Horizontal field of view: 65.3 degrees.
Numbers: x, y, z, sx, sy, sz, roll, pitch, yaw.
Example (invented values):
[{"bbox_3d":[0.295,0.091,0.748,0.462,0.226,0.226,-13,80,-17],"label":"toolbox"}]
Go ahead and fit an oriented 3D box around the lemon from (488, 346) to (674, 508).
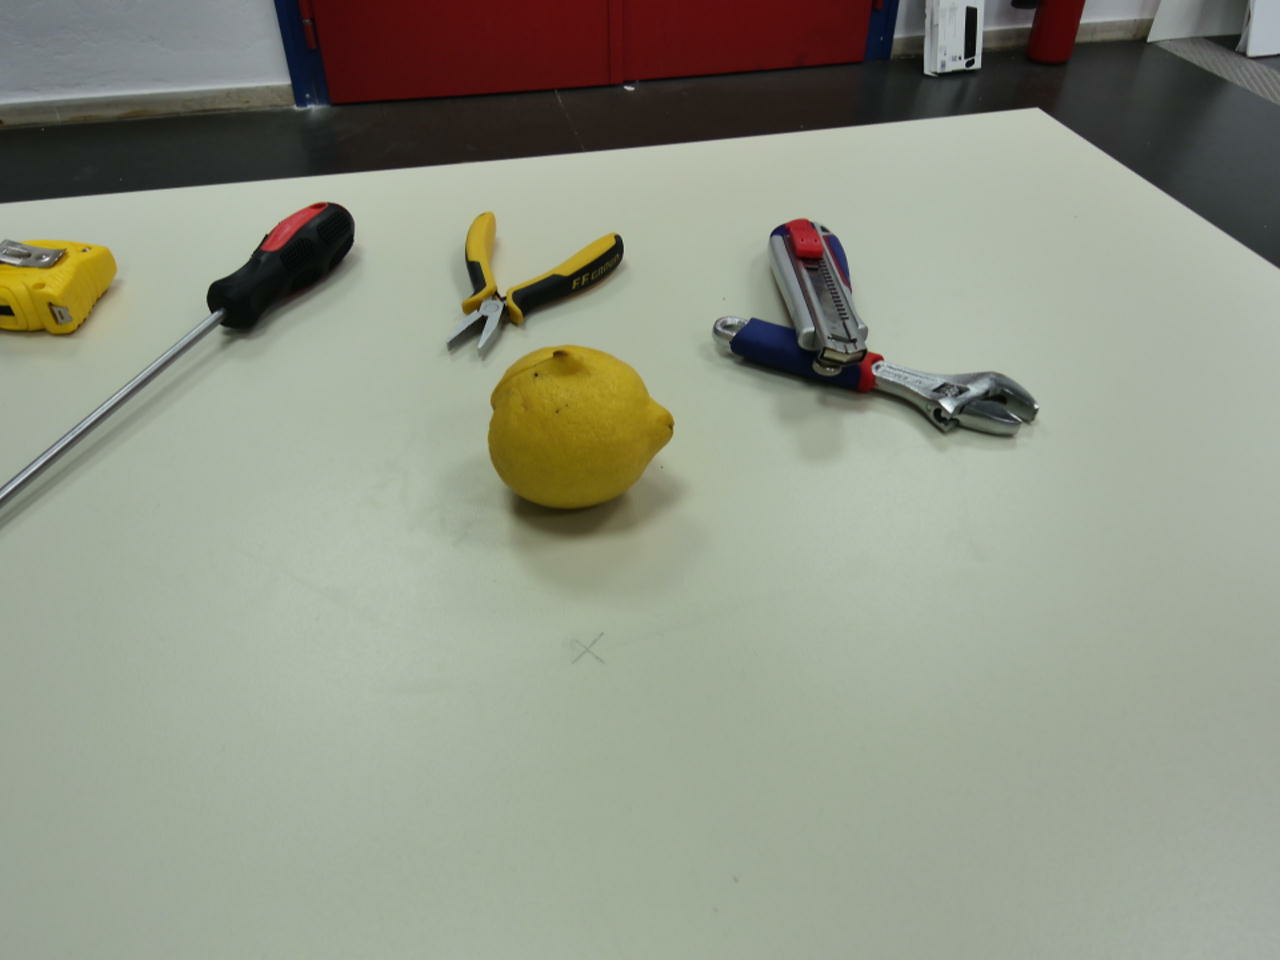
[{"bbox_3d":[-0.029,-0.025,0.415,0.071,0.071,0.070,31,47,32],"label":"lemon"}]
